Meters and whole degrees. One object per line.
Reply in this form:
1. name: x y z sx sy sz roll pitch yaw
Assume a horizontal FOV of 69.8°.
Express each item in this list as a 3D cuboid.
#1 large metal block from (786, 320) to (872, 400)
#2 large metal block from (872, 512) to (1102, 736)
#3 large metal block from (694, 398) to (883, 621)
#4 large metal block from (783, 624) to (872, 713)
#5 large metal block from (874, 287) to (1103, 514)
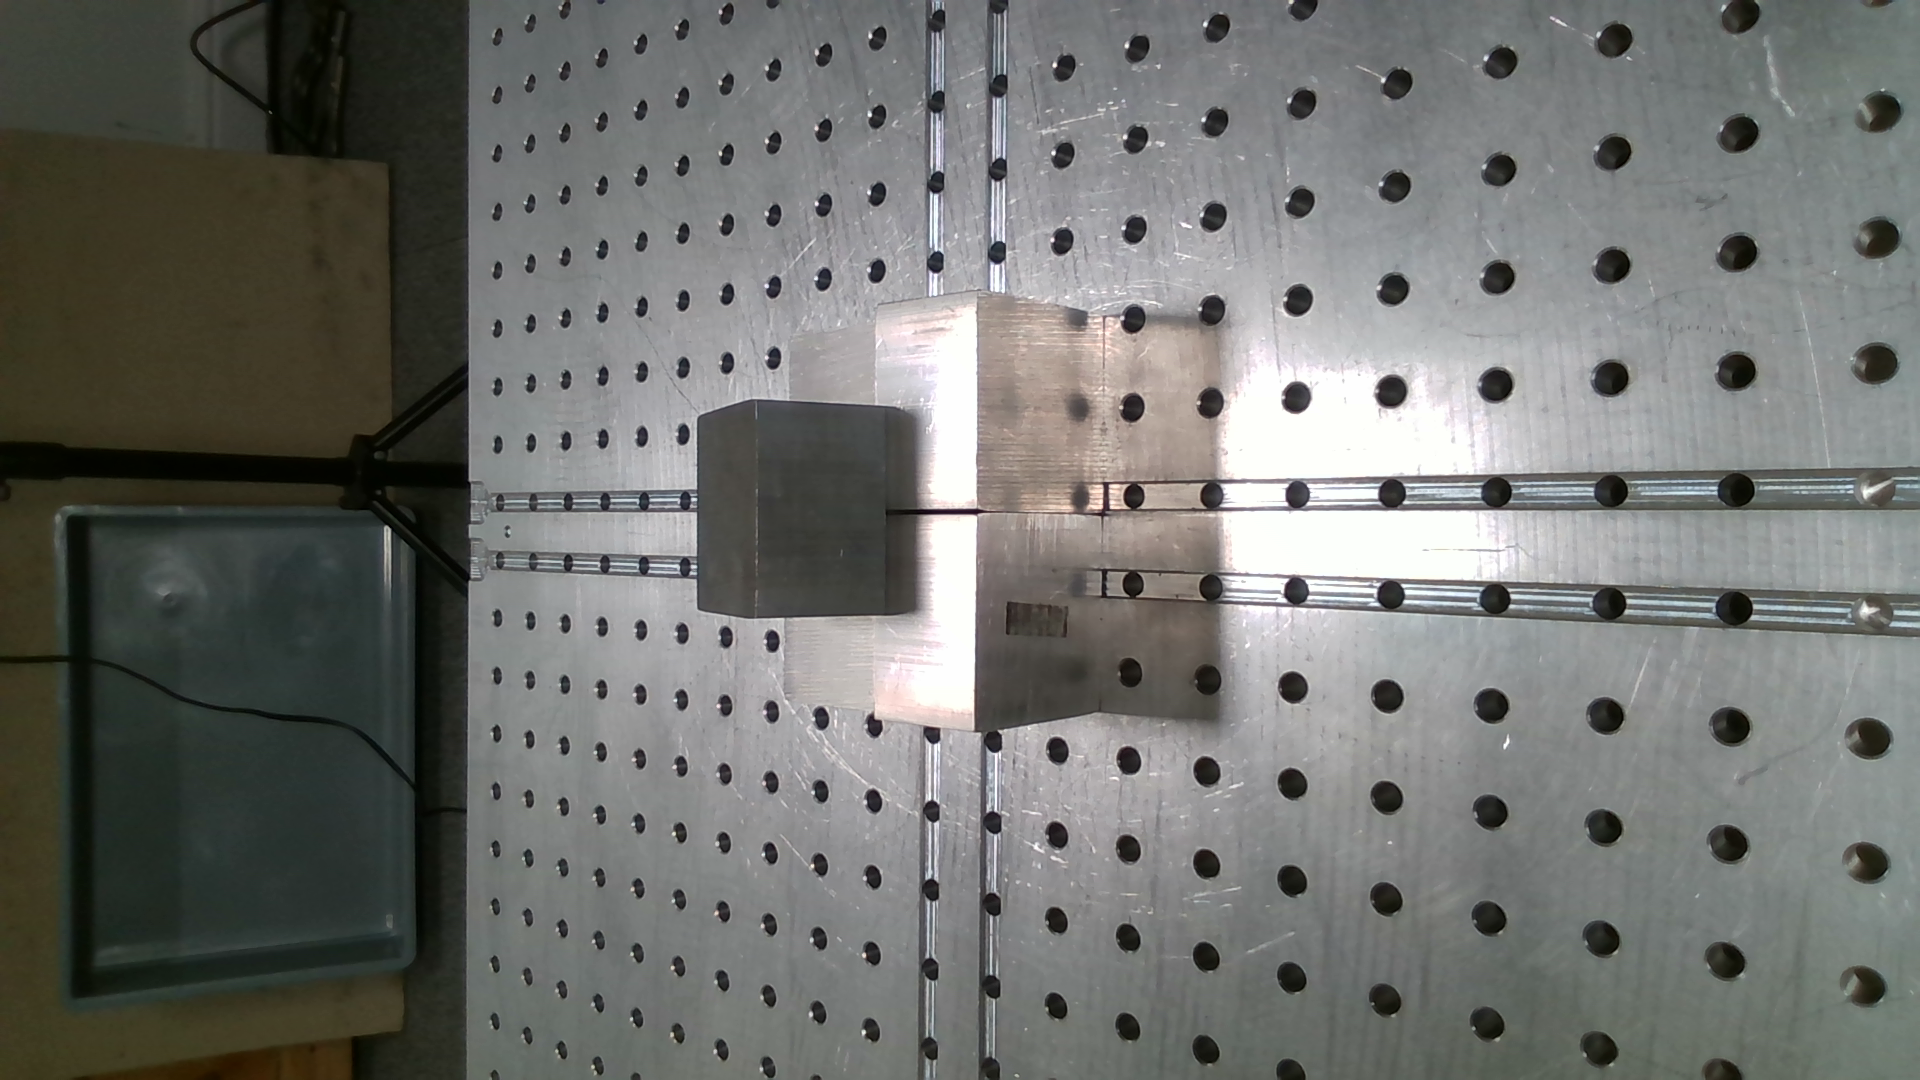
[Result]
1. large metal block: -0.029 -0.050 0.590 0.080 0.050 0.080 1 91 40
2. large metal block: 0.012 0.030 0.538 0.050 0.080 0.080 1 91 40
3. large metal block: -0.069 -0.011 0.539 0.080 0.050 0.080 0 91 64
4. large metal block: -0.030 0.031 0.591 0.080 0.050 0.080 1 91 40
5. large metal block: 0.012 -0.051 0.537 0.050 0.080 0.080 1 91 40
